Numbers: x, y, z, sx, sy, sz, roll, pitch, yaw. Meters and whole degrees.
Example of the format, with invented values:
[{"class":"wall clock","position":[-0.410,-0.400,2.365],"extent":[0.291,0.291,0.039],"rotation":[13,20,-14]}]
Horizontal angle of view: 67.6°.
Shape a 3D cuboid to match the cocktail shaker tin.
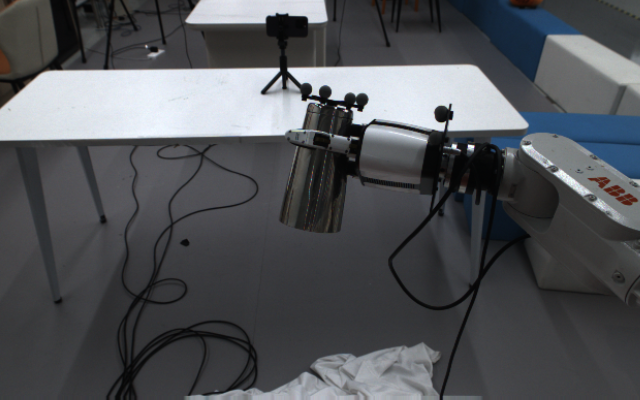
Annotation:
[{"class":"cocktail shaker tin","position":[0.003,-0.050,0.692],"extent":[0.093,0.170,0.093],"rotation":[10,9,-2]}]
